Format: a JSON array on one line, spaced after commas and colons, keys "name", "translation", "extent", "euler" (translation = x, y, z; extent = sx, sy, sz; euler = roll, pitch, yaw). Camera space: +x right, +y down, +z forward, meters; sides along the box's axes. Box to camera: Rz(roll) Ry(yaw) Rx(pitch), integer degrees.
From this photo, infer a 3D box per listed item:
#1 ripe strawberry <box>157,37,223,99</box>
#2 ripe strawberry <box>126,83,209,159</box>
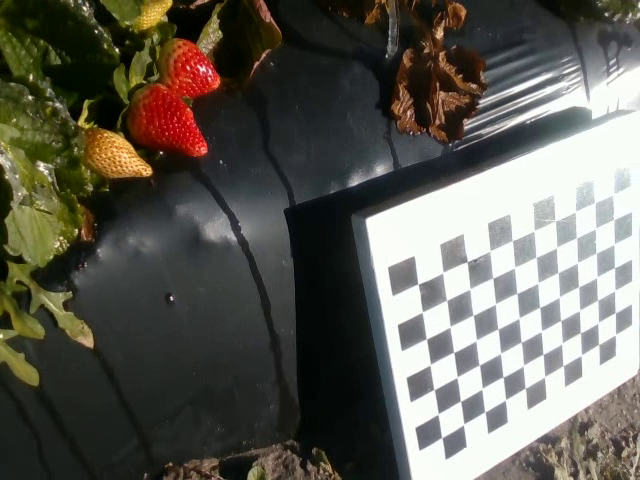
[{"name": "ripe strawberry", "translation": [-0.075, -0.099, 0.367], "extent": [0.041, 0.036, 0.030], "euler": [9, 9, -27]}, {"name": "ripe strawberry", "translation": [-0.080, -0.062, 0.353], "extent": [0.051, 0.037, 0.040], "euler": [33, -6, 5]}]
